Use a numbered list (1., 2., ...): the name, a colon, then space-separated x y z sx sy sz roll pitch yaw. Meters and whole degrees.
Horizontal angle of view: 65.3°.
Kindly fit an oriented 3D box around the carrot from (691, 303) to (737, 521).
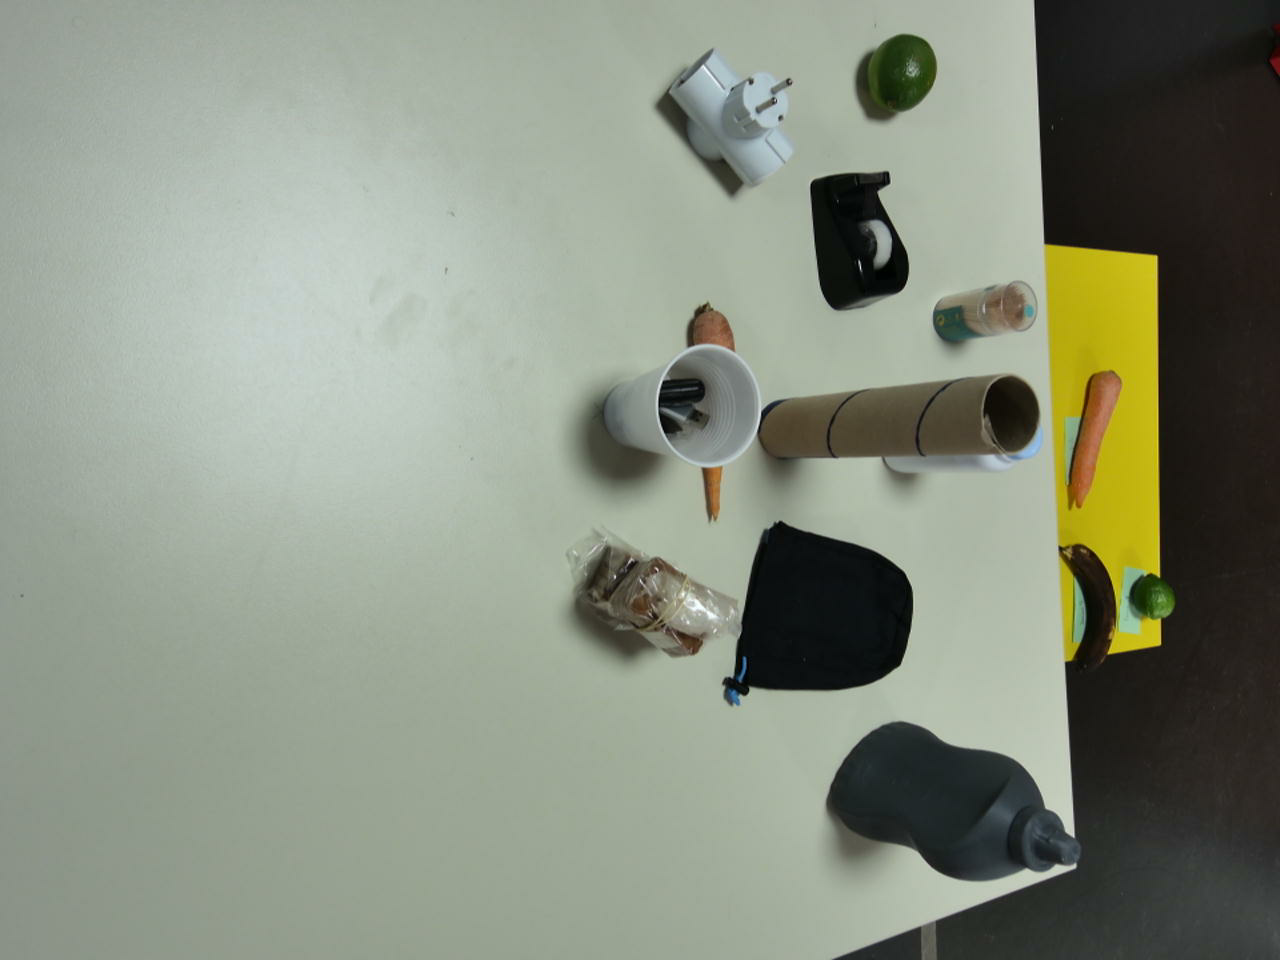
1. carrot: 0.058 -0.050 0.743 0.031 0.029 0.163 -5 93 -28
